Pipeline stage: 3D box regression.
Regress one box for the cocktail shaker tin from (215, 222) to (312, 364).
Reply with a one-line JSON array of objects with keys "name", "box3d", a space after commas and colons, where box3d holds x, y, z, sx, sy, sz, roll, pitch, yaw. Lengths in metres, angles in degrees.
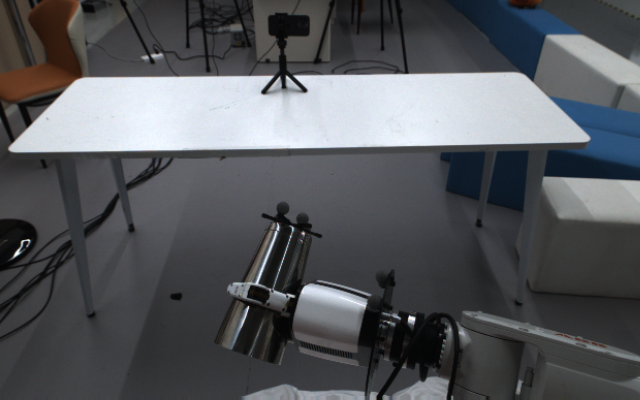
[{"name": "cocktail shaker tin", "box3d": [-0.068, 0.122, 0.646, 0.093, 0.093, 0.170, 14, 73, 17]}]
